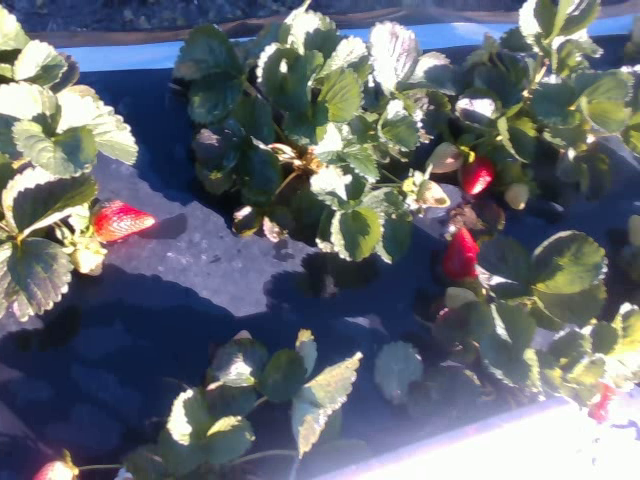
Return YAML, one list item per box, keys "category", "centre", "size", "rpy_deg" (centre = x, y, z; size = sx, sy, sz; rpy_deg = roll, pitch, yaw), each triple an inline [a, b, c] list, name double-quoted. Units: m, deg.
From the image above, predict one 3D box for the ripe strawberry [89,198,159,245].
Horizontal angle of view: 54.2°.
- category: "ripe strawberry"
  centre: [-0.190, -0.020, 0.593]
  size: [0.064, 0.050, 0.052]
  rpy_deg: [-1, 16, -9]
